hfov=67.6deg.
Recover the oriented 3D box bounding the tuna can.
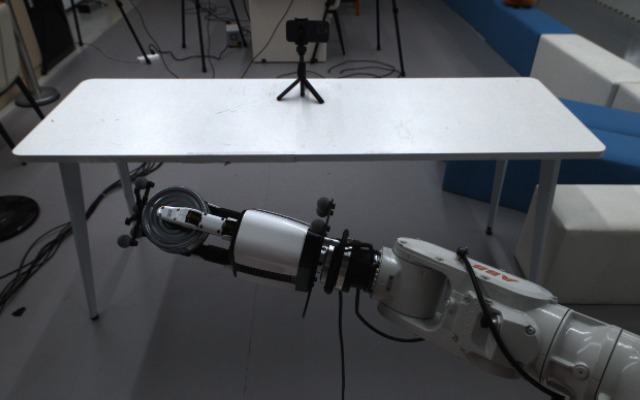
[{"bbox_3d":[-0.184,0.029,0.630,0.085,0.034,0.085,1,75,-4],"label":"tuna can"}]
